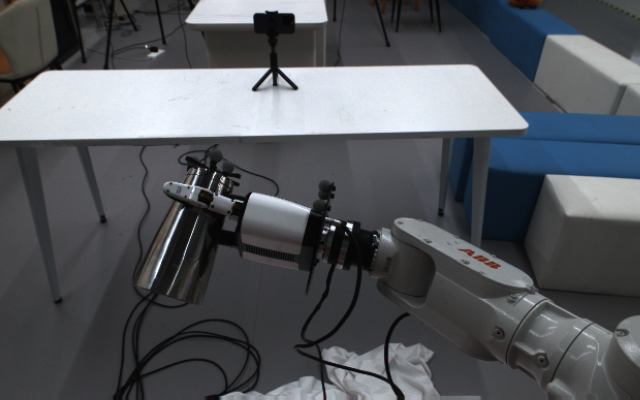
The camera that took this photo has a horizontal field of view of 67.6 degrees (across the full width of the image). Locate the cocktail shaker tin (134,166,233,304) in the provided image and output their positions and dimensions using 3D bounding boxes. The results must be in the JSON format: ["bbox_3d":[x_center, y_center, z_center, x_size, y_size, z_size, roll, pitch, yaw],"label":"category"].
[{"bbox_3d":[-0.174,0.044,0.650,0.093,0.093,0.170,12,72,14],"label":"cocktail shaker tin"}]
